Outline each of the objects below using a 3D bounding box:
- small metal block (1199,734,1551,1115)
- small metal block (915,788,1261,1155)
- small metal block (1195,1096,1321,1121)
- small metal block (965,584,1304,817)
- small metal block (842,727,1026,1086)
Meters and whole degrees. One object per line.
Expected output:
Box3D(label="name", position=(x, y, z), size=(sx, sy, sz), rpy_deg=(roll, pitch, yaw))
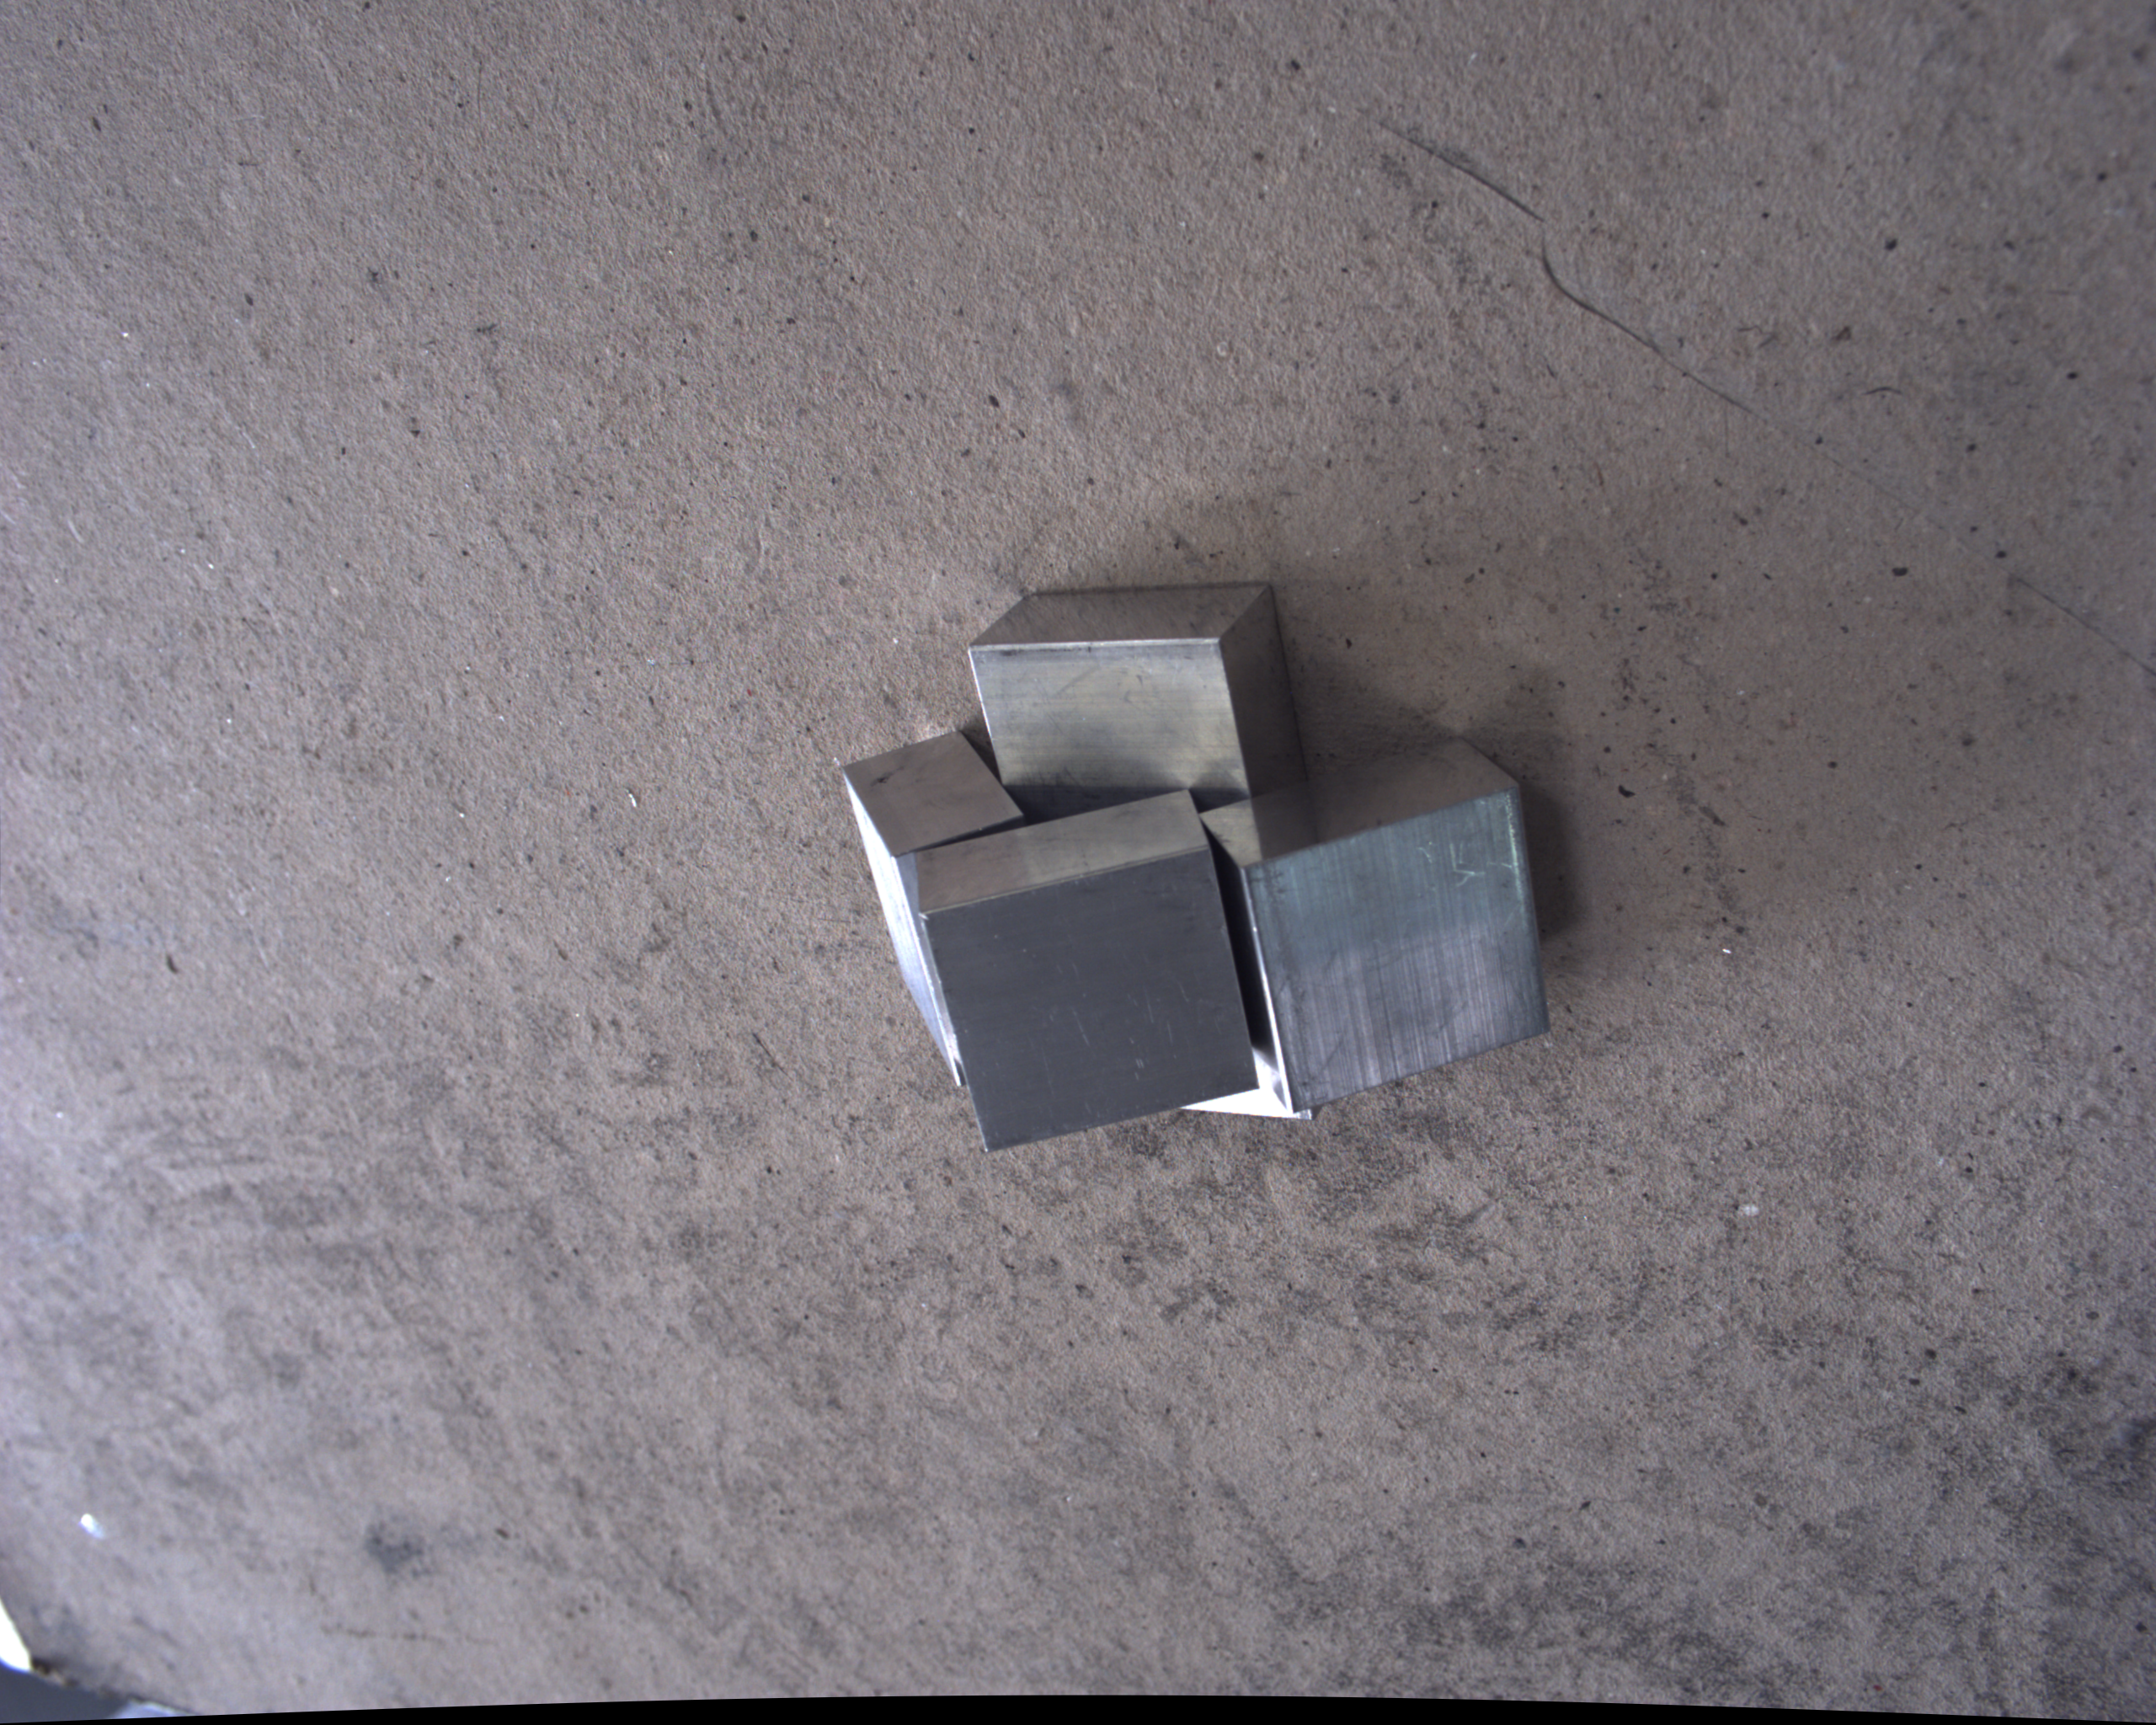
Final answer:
Box3D(label="small metal block", position=(0.053, 0.011, 0.371), size=(0.050, 0.025, 0.050), rpy_deg=(-17, 116, -8))
Box3D(label="small metal block", position=(0.002, 0.019, 0.373), size=(0.050, 0.025, 0.050), rpy_deg=(-13, 116, 0))
Box3D(label="small metal block", position=(0.023, 0.021, 0.409), size=(0.050, 0.025, 0.050), rpy_deg=(1, 119, 27))
Box3D(label="small metal block", position=(0.012, -0.023, 0.388), size=(0.050, 0.025, 0.050), rpy_deg=(1, 119, 27))
Box3D(label="small metal block", position=(-0.023, 0.007, 0.407), size=(0.025, 0.050, 0.050), rpy_deg=(-19, 116, -10))
